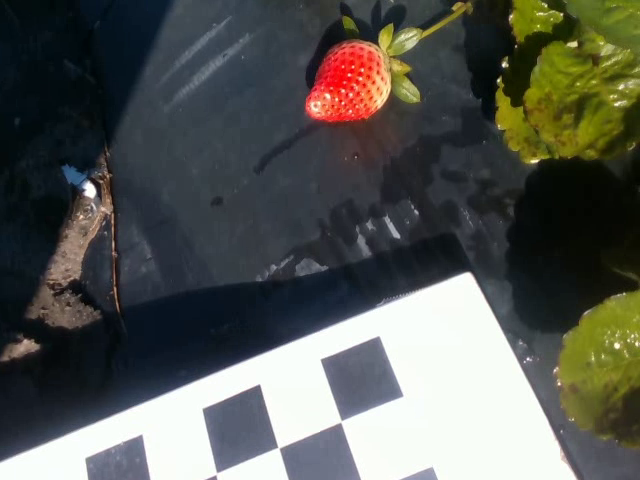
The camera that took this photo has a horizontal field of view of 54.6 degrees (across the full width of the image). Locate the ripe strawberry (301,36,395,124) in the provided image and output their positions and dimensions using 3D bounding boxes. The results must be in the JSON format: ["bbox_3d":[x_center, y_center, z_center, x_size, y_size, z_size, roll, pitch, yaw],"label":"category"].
[{"bbox_3d":[0.011,-0.066,0.273,0.053,0.039,0.041,-32,-30,-24],"label":"ripe strawberry"}]
